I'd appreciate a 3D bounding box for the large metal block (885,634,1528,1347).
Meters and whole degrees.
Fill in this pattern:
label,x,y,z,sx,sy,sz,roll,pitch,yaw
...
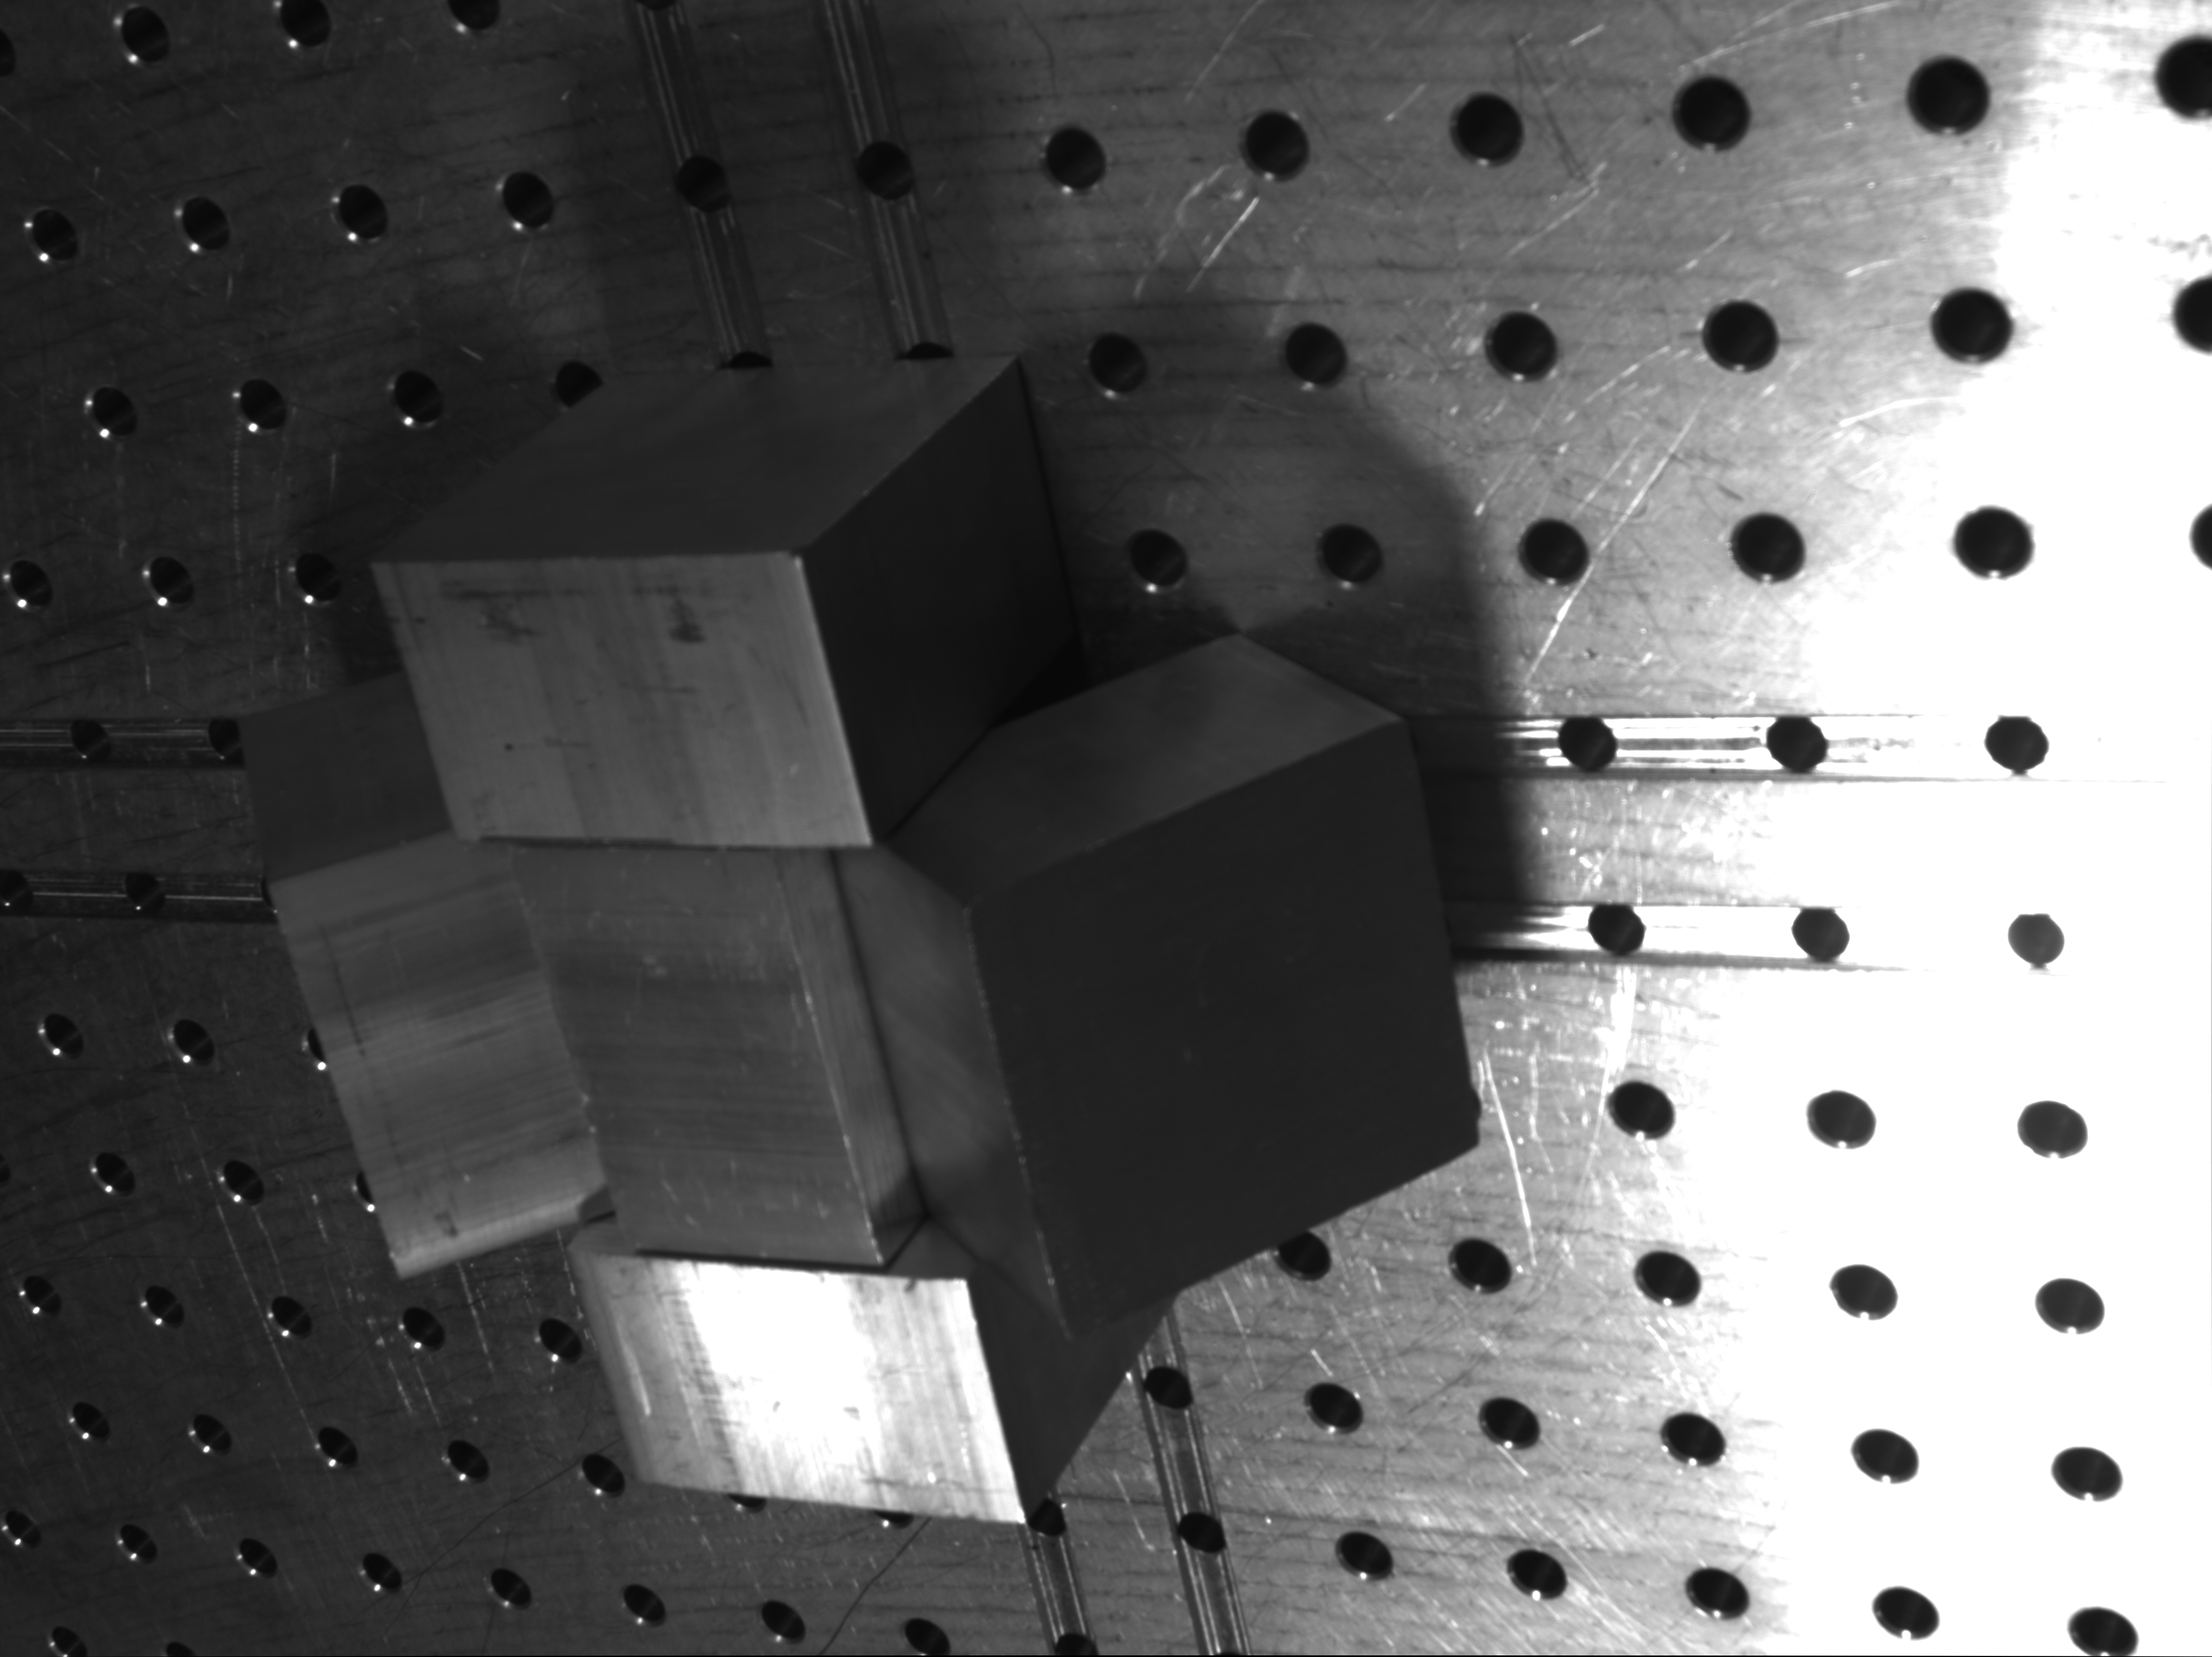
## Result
label,x,y,z,sx,sy,sz,roll,pitch,yaw
large metal block,0.016,0.025,0.595,0.050,0.080,0.080,32,140,56

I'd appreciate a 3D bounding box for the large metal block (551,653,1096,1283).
label,x,y,z,sx,sy,sz,roll,pitch,yaw
large metal block,-0.044,0.021,0.632,0.050,0.080,0.080,1,119,26

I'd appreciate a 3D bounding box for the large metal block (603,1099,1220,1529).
label,x,y,z,sx,sy,sz,roll,pitch,yaw
large metal block,-0.030,0.077,0.660,0.080,0.080,0.050,1,119,26

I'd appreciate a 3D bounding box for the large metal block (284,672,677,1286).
label,x,y,z,sx,sy,sz,roll,pitch,yaw
large metal block,-0.109,0.022,0.659,0.050,0.080,0.080,-17,116,-9

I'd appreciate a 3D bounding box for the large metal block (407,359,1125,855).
label,x,y,z,sx,sy,sz,roll,pitch,yaw
large metal block,-0.054,-0.037,0.602,0.080,0.080,0.050,1,119,26
